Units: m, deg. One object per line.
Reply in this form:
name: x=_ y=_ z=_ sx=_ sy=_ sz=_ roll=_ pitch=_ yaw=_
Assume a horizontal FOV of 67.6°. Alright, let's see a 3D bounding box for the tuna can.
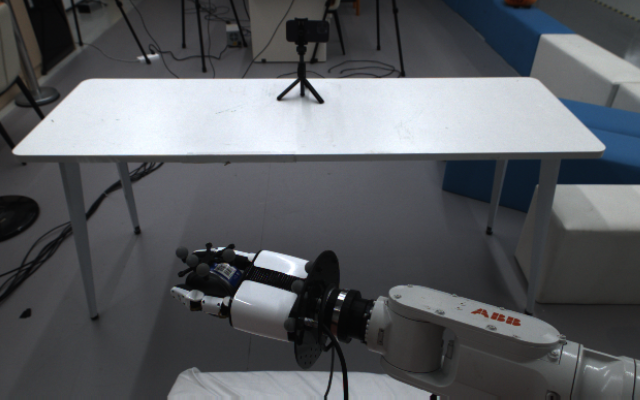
tuna can: x=-0.145 y=0.127 z=0.694 sx=0.085 sy=0.085 sz=0.034 roll=14 pitch=33 yaw=16
